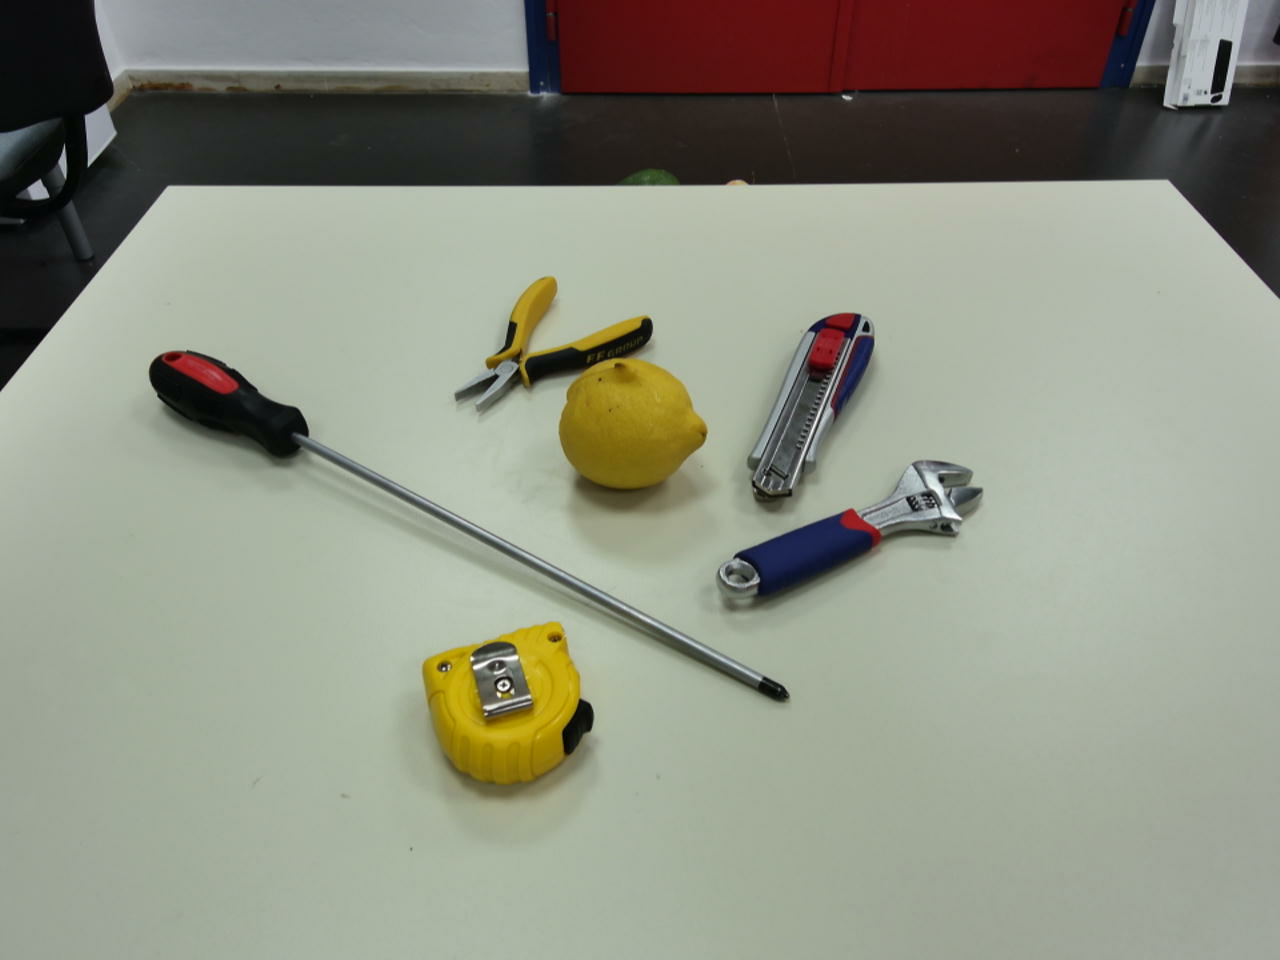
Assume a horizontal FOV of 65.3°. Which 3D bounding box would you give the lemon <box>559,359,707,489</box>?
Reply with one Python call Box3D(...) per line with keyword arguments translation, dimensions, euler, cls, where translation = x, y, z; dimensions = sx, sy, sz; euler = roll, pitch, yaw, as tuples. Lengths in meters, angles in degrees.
Box3D(translation=(-0.007, -0.032, 0.521), dimensions=(0.070, 0.071, 0.071), euler=(-22, 44, -26), cls="lemon")
